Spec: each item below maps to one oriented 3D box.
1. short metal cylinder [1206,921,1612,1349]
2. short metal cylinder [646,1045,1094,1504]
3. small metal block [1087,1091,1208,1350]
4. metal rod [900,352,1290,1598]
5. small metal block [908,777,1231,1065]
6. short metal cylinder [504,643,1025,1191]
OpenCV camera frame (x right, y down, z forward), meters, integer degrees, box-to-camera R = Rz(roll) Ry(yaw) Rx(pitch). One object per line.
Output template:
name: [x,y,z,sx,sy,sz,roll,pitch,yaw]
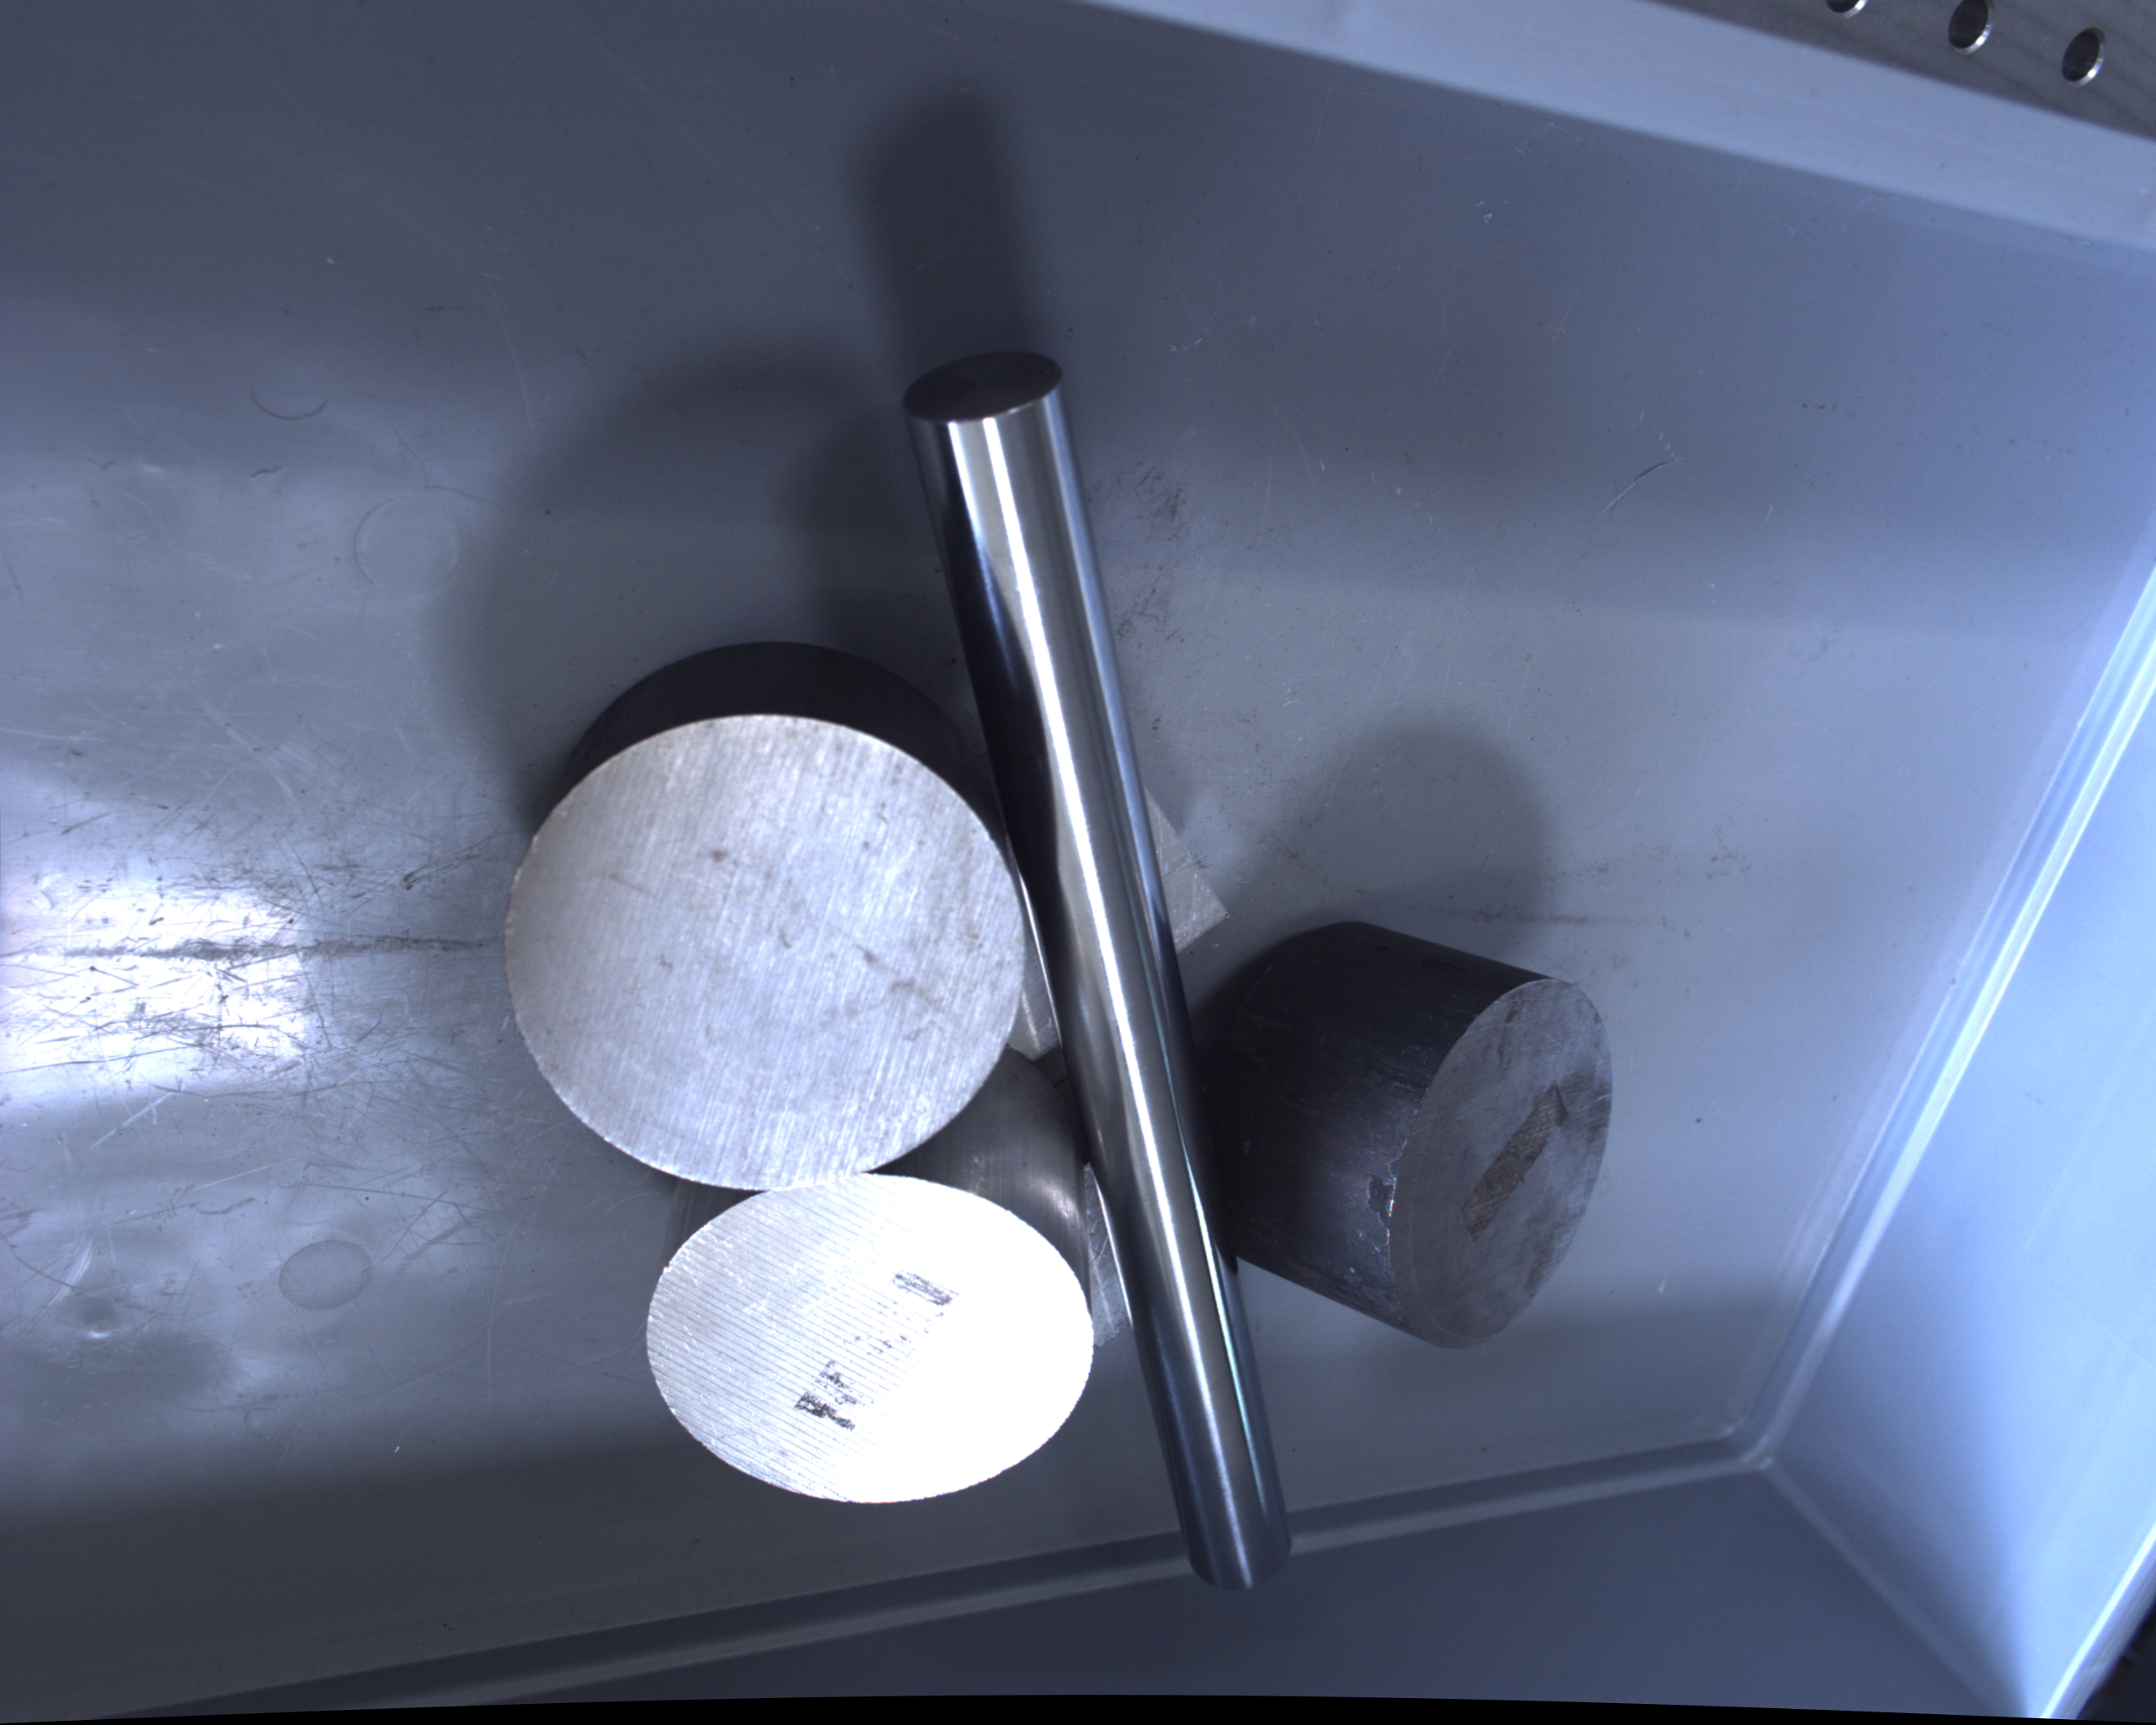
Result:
short metal cylinder: [0.071,0.057,0.448,0.081,0.050,0.079,-18,115,-43]
short metal cylinder: [-0.038,0.075,0.399,0.081,0.050,0.079,-1,120,-2]
small metal block: [0.010,0.071,0.456,0.050,0.025,0.050,-35,129,-5]
metal rod: [0.012,0.045,0.408,0.025,0.025,0.298,-23,127,-14]
small metal block: [-0.006,0.004,0.406,0.050,0.025,0.050,-37,129,-4]
short metal cylinder: [-0.051,0.008,0.349,0.081,0.050,0.079,-2,109,-6]
